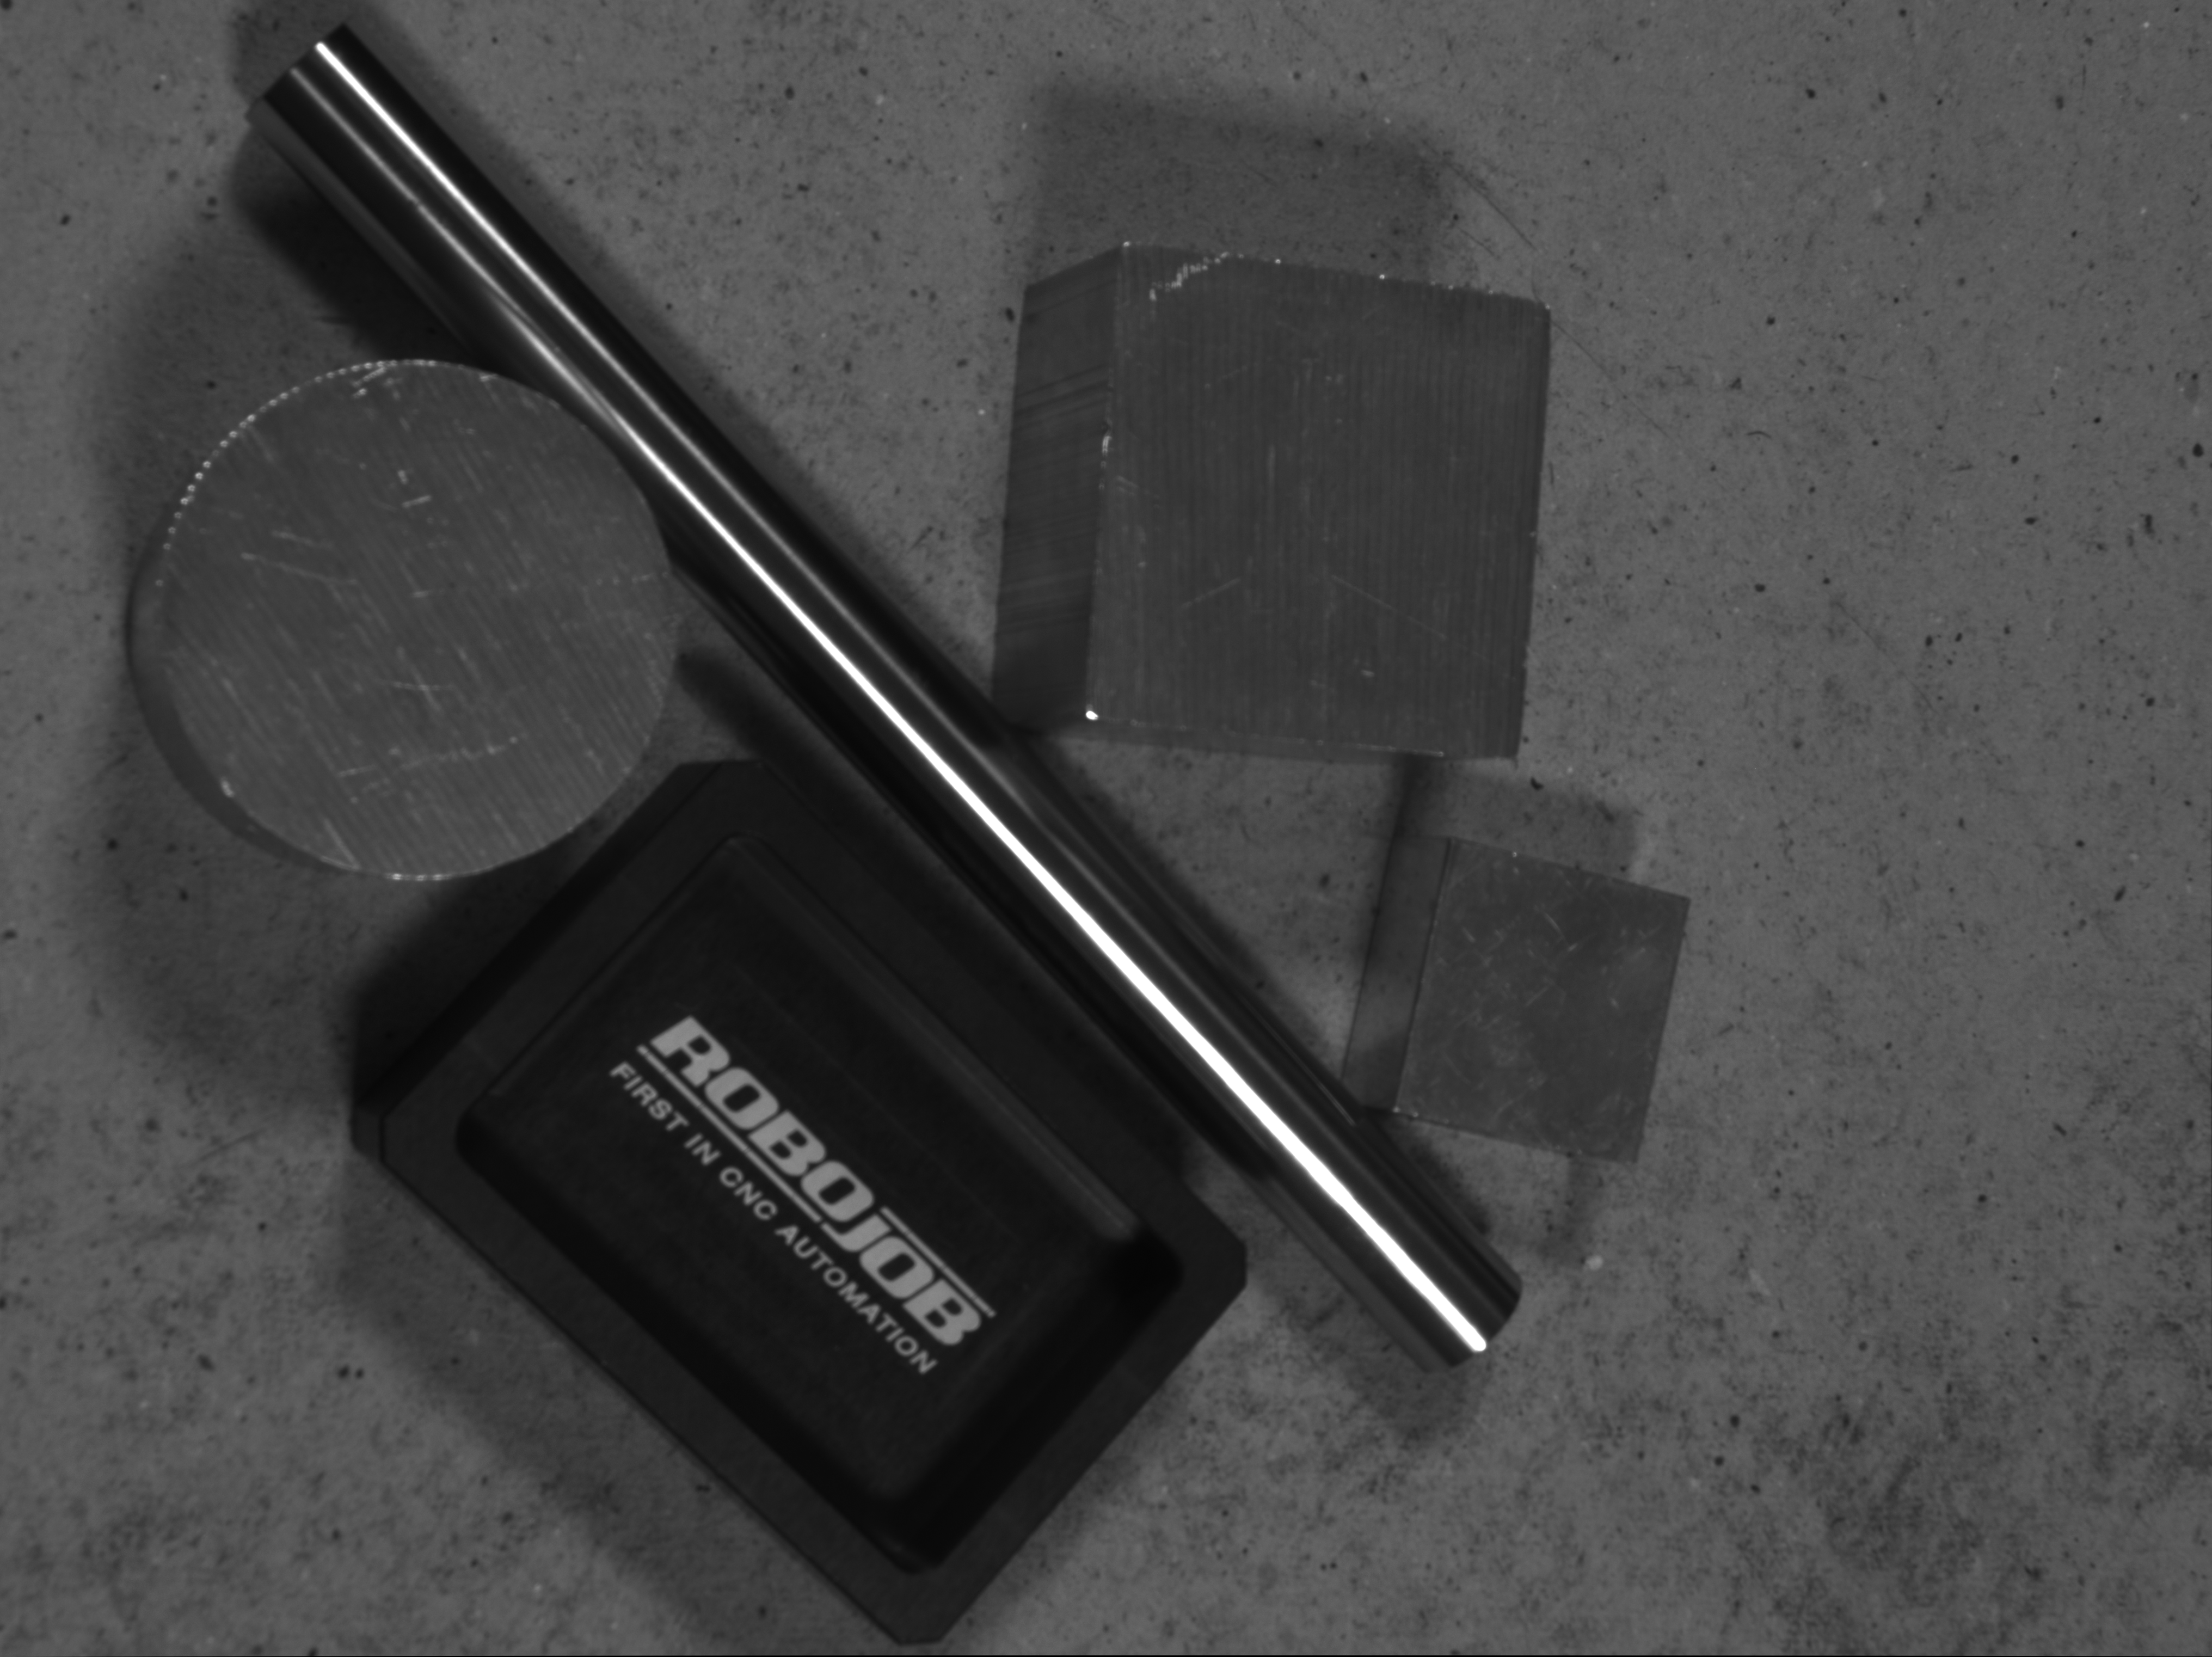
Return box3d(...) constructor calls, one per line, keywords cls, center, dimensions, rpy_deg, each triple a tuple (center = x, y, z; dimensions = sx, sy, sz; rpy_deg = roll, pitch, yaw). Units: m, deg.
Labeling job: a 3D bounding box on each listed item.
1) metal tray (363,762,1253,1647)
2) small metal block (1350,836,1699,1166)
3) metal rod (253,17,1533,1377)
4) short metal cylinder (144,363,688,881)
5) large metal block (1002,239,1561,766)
box3d(cls="metal tray", center=(-0.049, 0.063, 0.623), dimensions=(0.130, 0.030, 0.090), rpy_deg=(46, 76, -14))
box3d(cls="small metal block", center=(0.076, 0.031, 0.672), dimensions=(0.050, 0.025, 0.050), rpy_deg=(14, 85, -19))
box3d(cls="metal rod", center=(-0.031, -0.016, 0.632), dimensions=(0.025, 0.025, 0.300), rpy_deg=(-46, 104, -14))
box3d(cls="short metal cylinder", center=(-0.112, -0.032, 0.589), dimensions=(0.080, 0.050, 0.080), rpy_deg=(0, 90, -20))
box3d(cls="large metal block", center=(0.030, -0.054, 0.641), dimensions=(0.080, 0.050, 0.080), rpy_deg=(5, 88, -20))
